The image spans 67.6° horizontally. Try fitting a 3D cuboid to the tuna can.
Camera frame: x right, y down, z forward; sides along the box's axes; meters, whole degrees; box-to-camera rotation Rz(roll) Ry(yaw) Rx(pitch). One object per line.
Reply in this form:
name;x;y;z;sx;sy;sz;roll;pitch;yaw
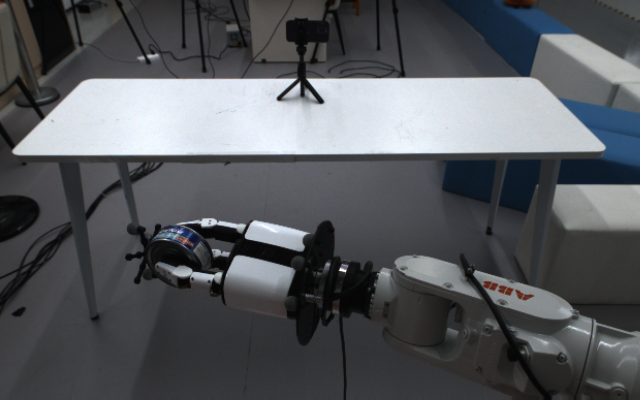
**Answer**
tuna can;-0.187;0.080;0.648;0.085;0.085;0.034;9;34;10
